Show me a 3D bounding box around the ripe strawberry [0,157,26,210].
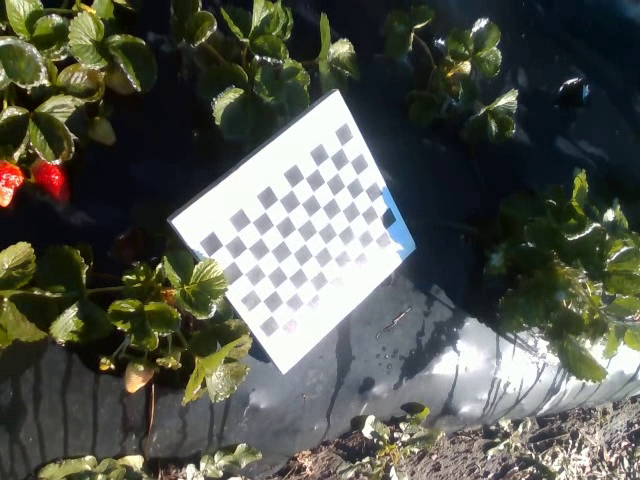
[{"bbox_3d":[-0.387,-0.067,0.771,0.052,0.070,0.040,9,-2,-40],"label":"ripe strawberry"}]

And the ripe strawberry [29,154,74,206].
[{"bbox_3d":[-0.337,-0.077,0.788,0.043,0.059,0.040,-40,23,-19],"label":"ripe strawberry"}]
